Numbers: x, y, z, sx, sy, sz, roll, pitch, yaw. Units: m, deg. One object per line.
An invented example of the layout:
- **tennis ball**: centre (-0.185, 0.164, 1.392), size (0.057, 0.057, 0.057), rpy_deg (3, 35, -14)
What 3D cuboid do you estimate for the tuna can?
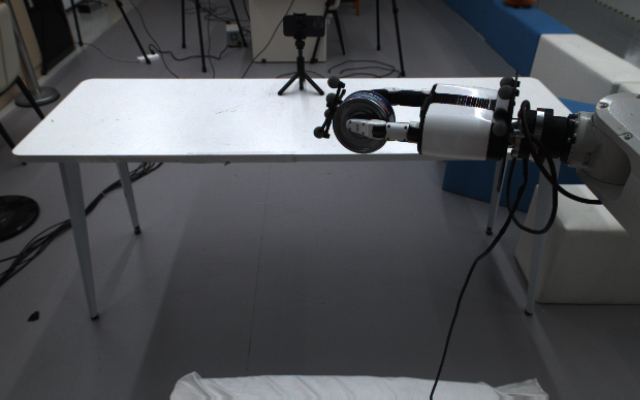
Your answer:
- **tuna can**: centre (0.063, -0.112, 0.693), size (0.085, 0.085, 0.034), rpy_deg (12, 30, 14)
